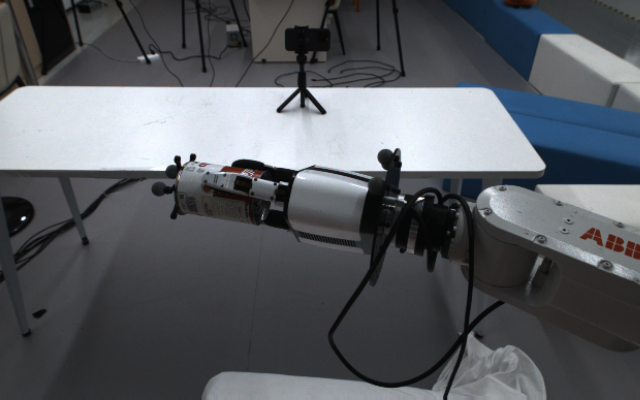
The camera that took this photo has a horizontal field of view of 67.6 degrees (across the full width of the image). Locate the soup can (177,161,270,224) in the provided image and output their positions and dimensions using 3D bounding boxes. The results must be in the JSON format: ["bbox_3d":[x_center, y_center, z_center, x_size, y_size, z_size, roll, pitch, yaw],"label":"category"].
[{"bbox_3d":[-0.115,-0.009,0.596,0.101,0.067,0.067,8,35,11],"label":"soup can"}]
